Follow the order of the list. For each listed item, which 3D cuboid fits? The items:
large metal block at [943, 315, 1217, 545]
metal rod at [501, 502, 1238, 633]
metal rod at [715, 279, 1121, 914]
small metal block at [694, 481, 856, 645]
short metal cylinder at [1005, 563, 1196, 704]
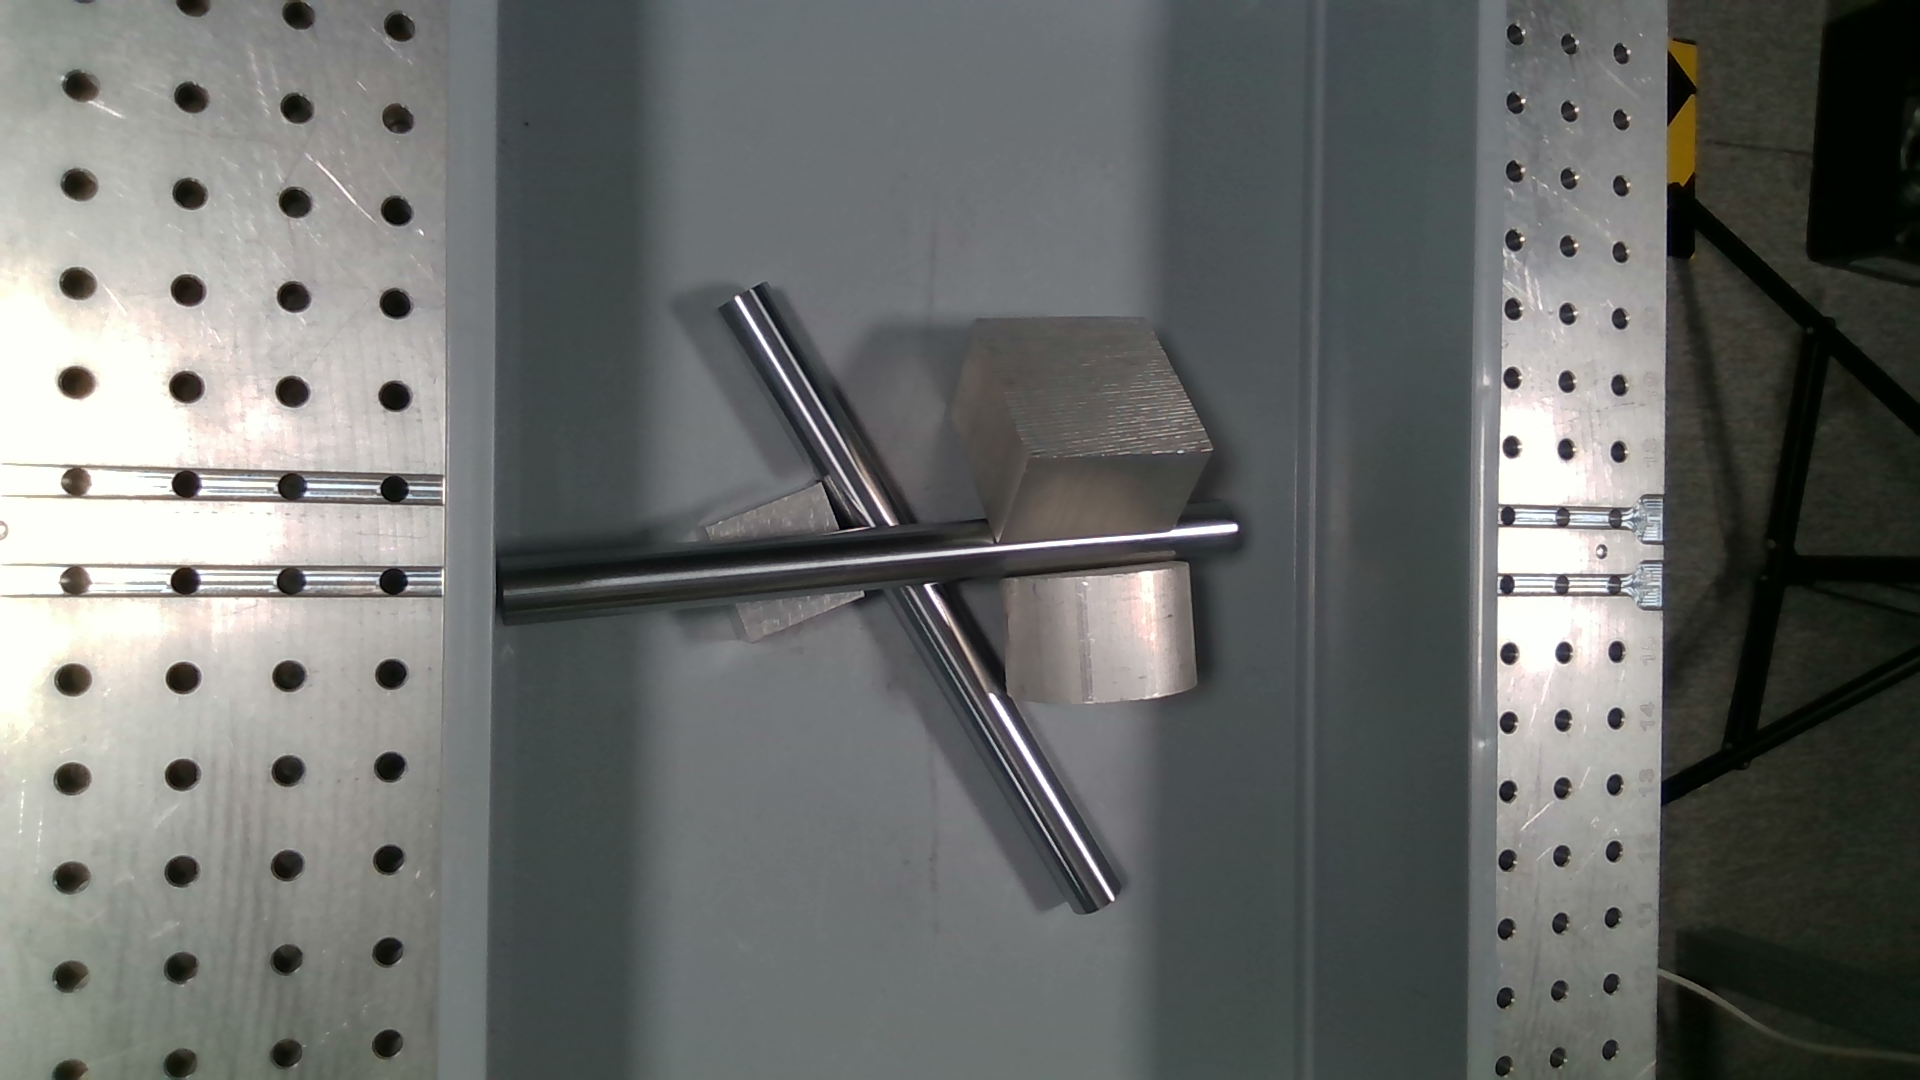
[{"bbox_3d":[0.047,-0.047,0.568,0.080,0.050,0.080,-4,51,-20],"label":"large metal block"},{"bbox_3d":[-0.024,0.008,0.548,0.300,0.025,0.025,-5,92,-21],"label":"metal rod"},{"bbox_3d":[-0.014,0.029,0.579,0.025,0.025,0.300,-33,101,-17],"label":"metal rod"},{"bbox_3d":[-0.074,0.009,0.558,0.050,0.025,0.050,-23,98,-19],"label":"small metal block"},{"bbox_3d":[0.058,0.037,0.576,0.080,0.080,0.050,-5,93,-20],"label":"short metal cylinder"}]
